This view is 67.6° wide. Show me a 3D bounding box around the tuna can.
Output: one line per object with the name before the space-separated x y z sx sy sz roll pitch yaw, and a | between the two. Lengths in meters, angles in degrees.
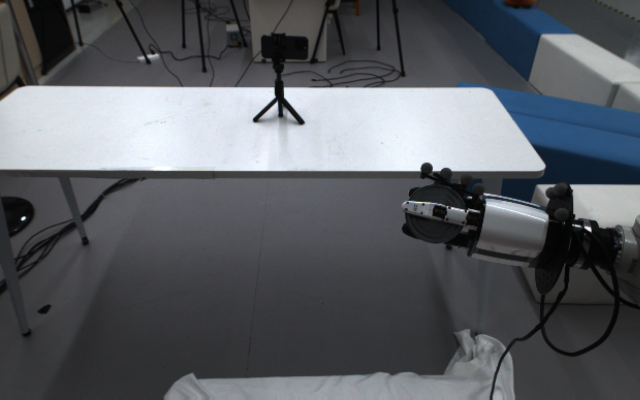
tuna can | 0.170 0.020 0.706 0.085 0.085 0.034 14 -6 16
